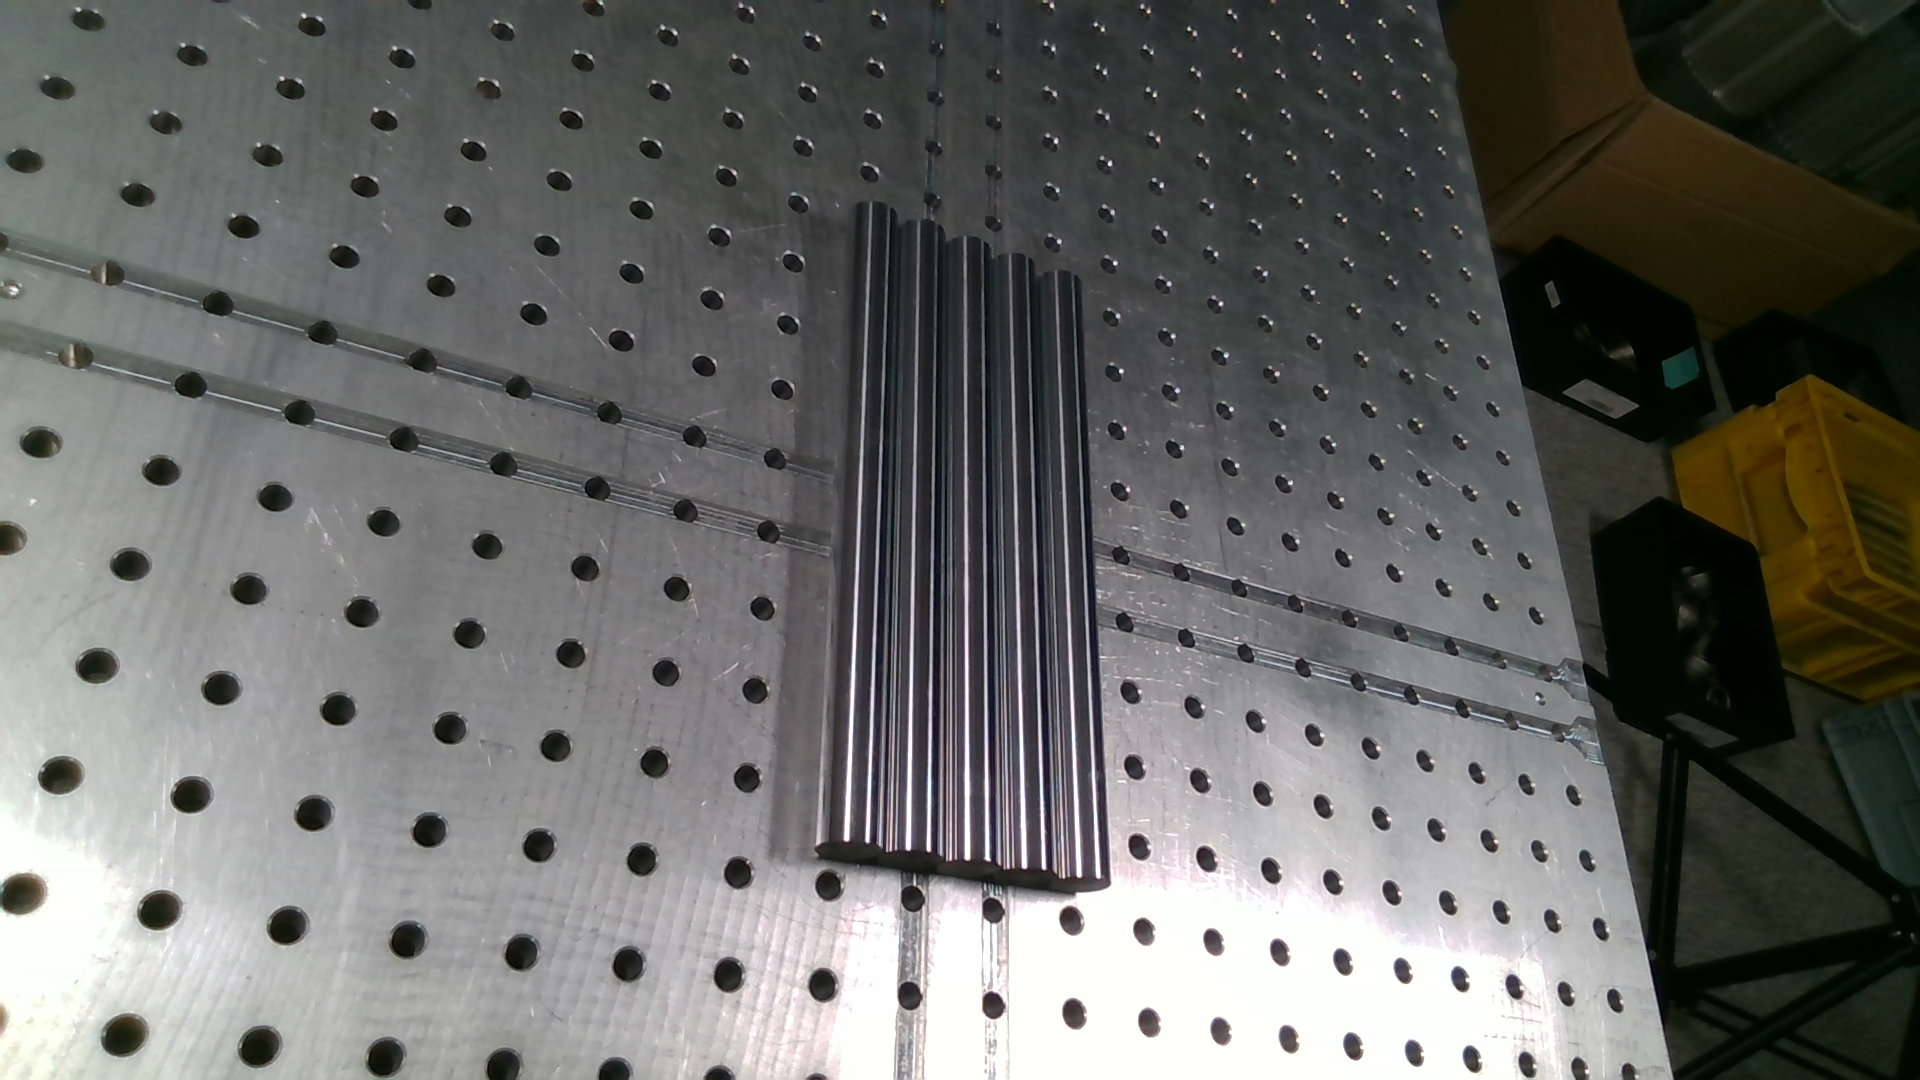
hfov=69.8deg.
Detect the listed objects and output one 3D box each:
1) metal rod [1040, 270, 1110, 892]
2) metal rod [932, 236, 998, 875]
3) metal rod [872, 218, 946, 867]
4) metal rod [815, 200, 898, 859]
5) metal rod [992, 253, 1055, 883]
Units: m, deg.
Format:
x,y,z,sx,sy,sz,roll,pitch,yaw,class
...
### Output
x,y,z,sx,sy,sz,roll,pitch,yaw,class
0.047,0.005,0.616,0.025,0.025,0.299,15,59,-25,metal rod
0.002,-0.007,0.594,0.025,0.025,0.299,15,59,-25,metal rod
-0.020,-0.013,0.584,0.025,0.025,0.299,15,59,-25,metal rod
-0.041,-0.019,0.573,0.025,0.025,0.299,14,59,-25,metal rod
0.025,-0.001,0.605,0.025,0.025,0.299,15,59,-25,metal rod
